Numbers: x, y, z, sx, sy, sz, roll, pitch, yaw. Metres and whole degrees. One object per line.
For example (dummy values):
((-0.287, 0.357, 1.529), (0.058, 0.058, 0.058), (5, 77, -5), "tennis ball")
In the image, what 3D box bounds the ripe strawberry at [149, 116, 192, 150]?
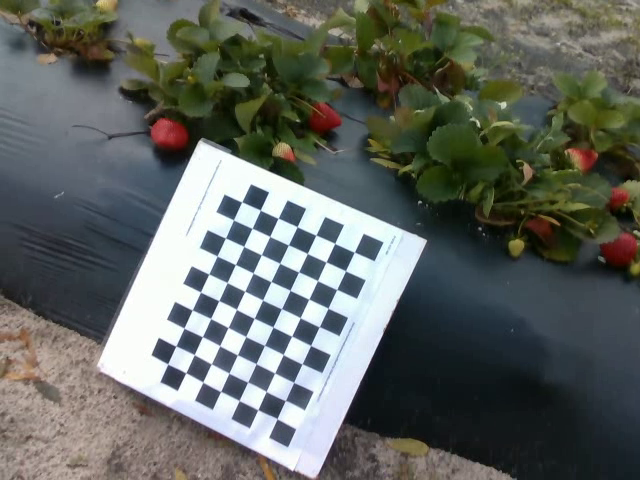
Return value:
((-0.150, -0.106, 0.598), (0.037, 0.037, 0.046), (-22, 30, 11), "ripe strawberry")
